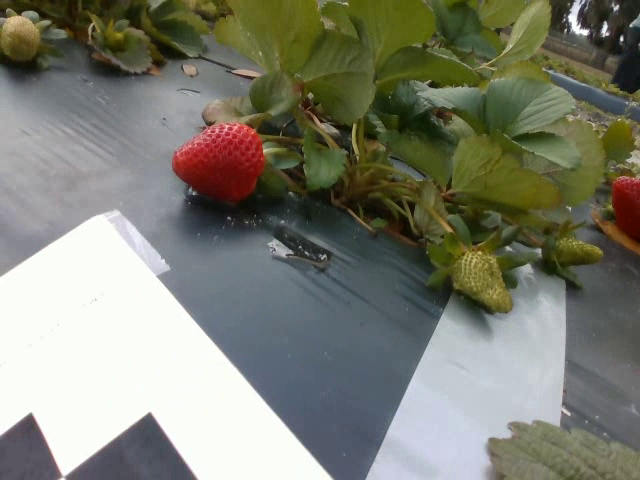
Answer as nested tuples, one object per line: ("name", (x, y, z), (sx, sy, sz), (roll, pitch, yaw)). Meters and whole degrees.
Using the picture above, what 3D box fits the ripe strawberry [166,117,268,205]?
("ripe strawberry", (-0.042, -0.034, 0.264), (0.036, 0.040, 0.046), (13, 7, 43))
